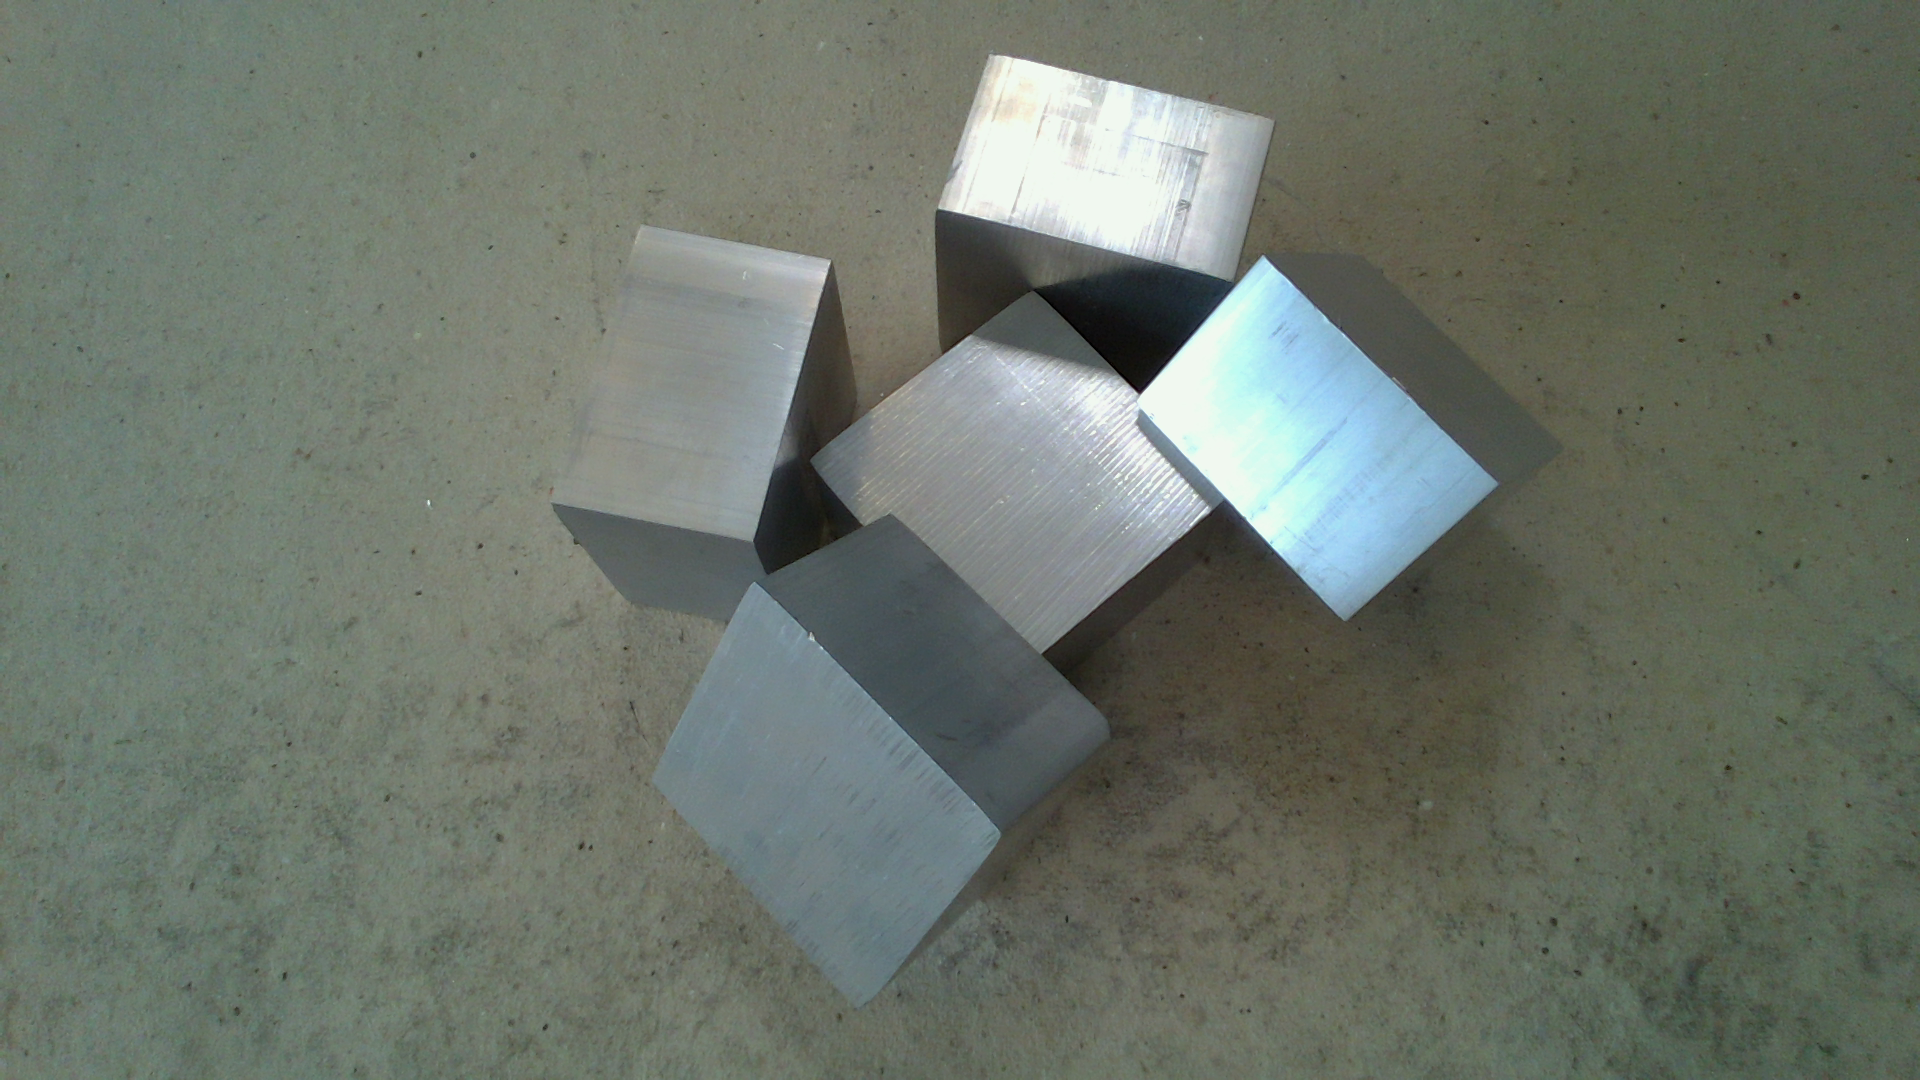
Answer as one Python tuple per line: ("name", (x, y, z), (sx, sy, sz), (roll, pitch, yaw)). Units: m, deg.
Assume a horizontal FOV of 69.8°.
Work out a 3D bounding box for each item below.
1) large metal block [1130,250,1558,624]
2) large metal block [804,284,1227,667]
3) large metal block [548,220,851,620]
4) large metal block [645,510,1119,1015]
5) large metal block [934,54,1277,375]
("large metal block", (0.105, -0.032, 0.371), (0.080, 0.080, 0.050), (49, 121, 16))
("large metal block", (0.015, -0.009, 0.383), (0.080, 0.050, 0.080), (-39, 76, -13))
("large metal block", (-0.065, -0.027, 0.376), (0.050, 0.080, 0.080), (11, 71, 4))
("large metal block", (-0.022, 0.054, 0.339), (0.080, 0.080, 0.050), (44, 39, 14))
("large metal block", (0.039, -0.085, 0.397), (0.080, 0.080, 0.050), (15, 70, 5))
